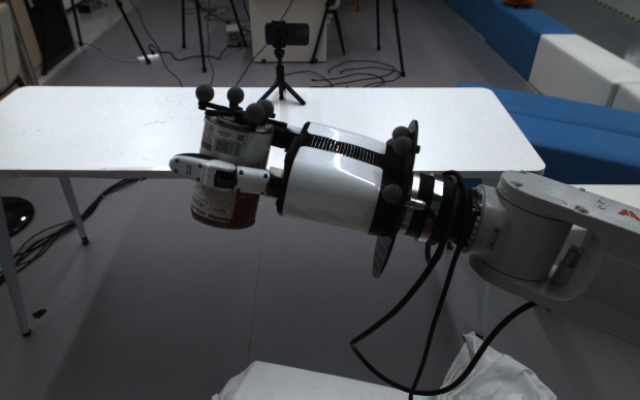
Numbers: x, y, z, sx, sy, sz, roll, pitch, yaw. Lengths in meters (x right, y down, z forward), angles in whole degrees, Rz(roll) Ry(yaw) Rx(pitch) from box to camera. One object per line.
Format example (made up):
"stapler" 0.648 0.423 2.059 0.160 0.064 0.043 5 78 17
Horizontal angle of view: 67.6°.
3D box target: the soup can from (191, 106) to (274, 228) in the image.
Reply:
"soup can" -0.086 -0.031 0.481 0.067 0.101 0.067 13 18 -4
